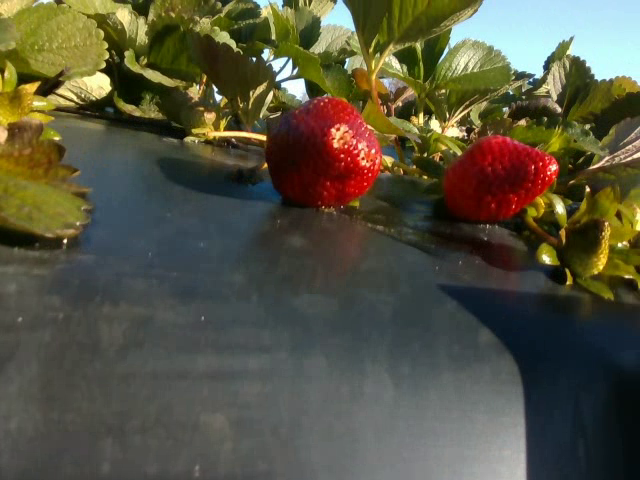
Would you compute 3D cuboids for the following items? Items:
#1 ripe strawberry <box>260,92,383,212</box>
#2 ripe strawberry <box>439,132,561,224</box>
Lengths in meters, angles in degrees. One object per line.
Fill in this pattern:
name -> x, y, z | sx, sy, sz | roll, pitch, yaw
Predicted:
ripe strawberry -> 0.001, -0.032, 0.207 | 0.050, 0.045, 0.050 | 24, -8, -2
ripe strawberry -> 0.071, -0.023, 0.225 | 0.042, 0.039, 0.049 | -35, 12, -26
